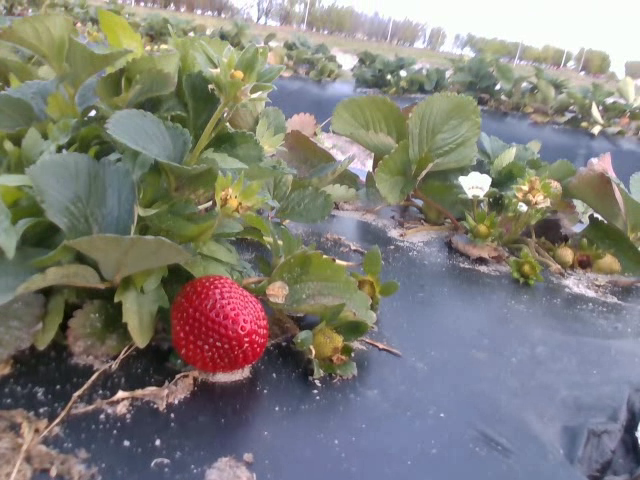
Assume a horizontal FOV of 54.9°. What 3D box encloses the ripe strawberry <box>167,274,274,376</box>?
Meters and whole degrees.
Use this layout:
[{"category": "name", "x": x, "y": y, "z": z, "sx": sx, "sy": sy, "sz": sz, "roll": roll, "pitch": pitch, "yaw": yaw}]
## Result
[{"category": "ripe strawberry", "x": -0.040, "y": 0.033, "z": 0.248, "sx": 0.043, "sy": 0.047, "sz": 0.046, "roll": -31, "pitch": 19, "yaw": -25}]
